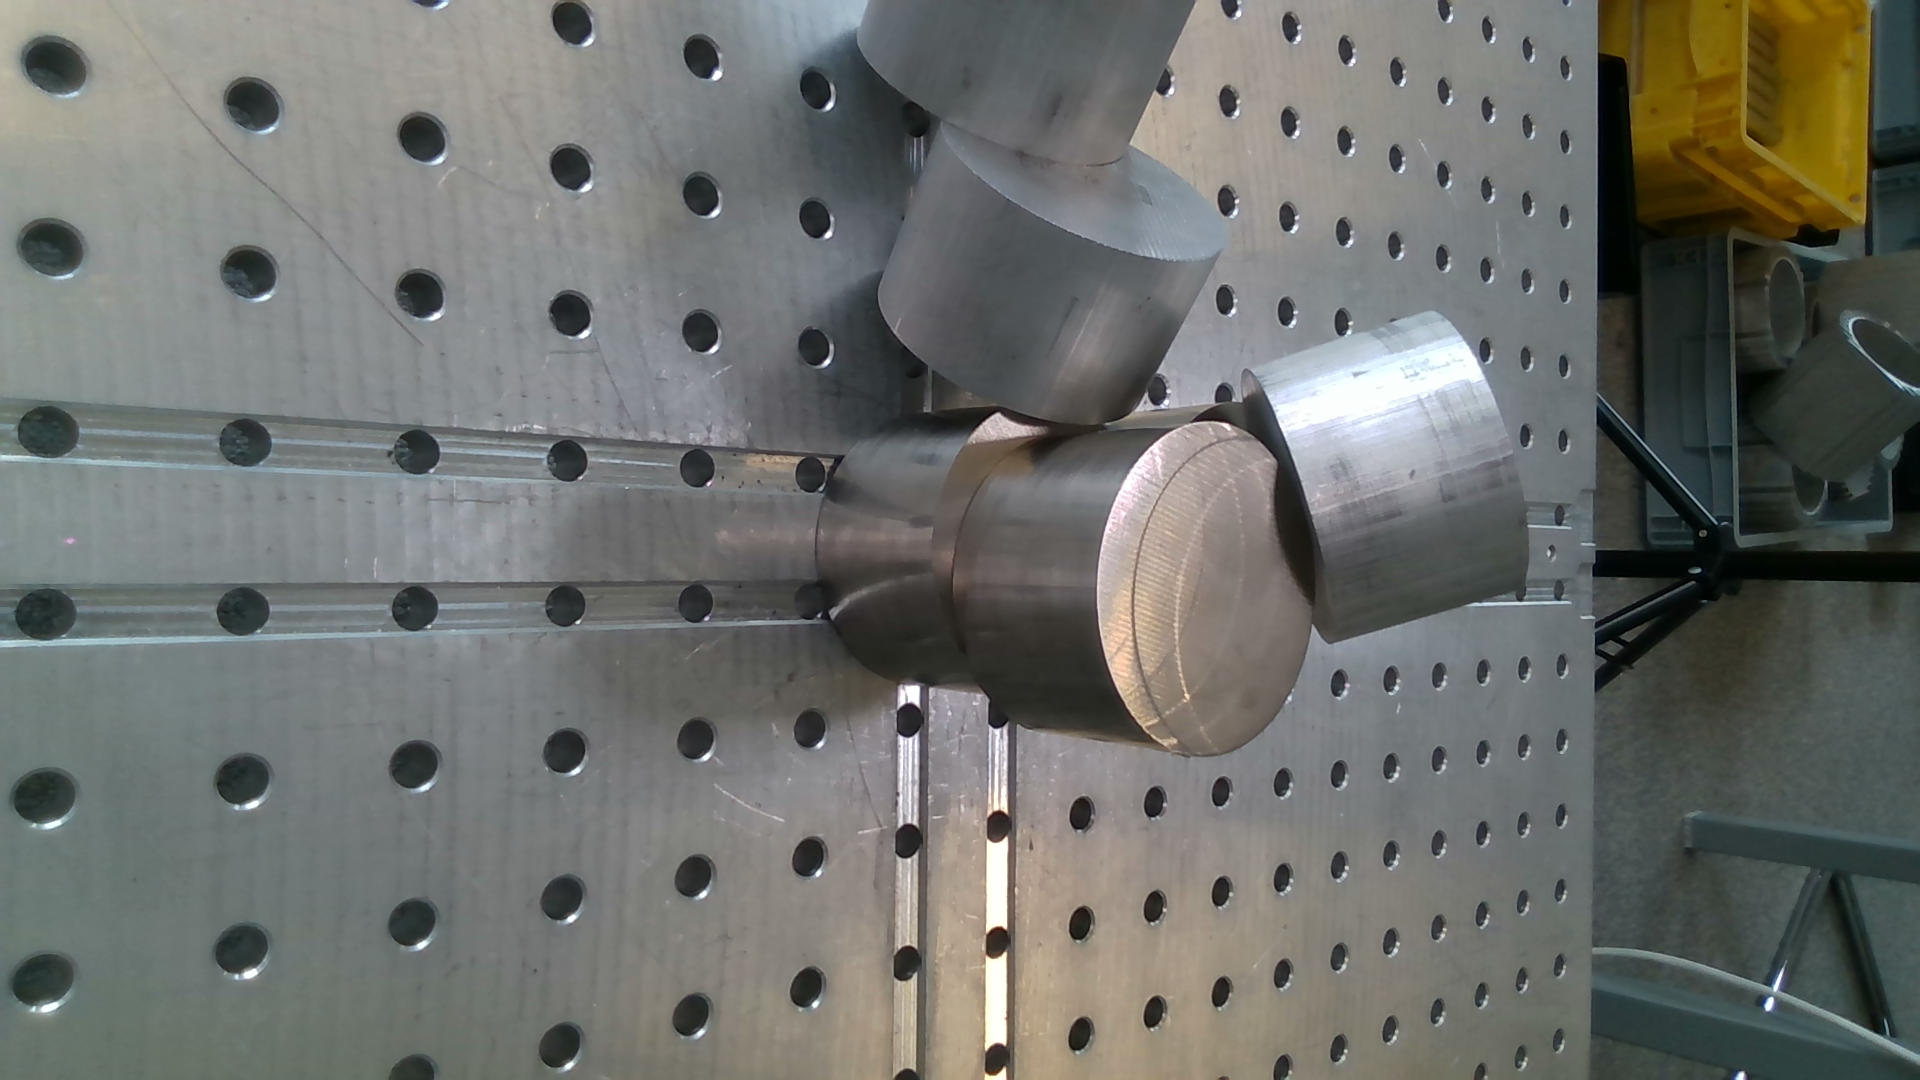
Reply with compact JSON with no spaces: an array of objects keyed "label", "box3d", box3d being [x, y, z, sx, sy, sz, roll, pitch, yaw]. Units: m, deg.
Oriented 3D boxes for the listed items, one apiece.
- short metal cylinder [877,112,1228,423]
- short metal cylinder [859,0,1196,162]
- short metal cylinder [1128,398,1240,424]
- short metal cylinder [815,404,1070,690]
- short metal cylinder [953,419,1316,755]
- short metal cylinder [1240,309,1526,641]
[{"label":"short metal cylinder","box3d":[0.024,-0.076,0.368,0.080,0.080,0.050,-9,137,-40]},{"label":"short metal cylinder","box3d":[0.019,-0.144,0.365,0.080,0.080,0.050,-10,138,-40]},{"label":"short metal cylinder","box3d":[0.069,-0.003,0.435,0.080,0.050,0.080,0,90,-40]},{"label":"short metal cylinder","box3d":[0.007,0.002,0.383,0.080,0.050,0.080,0,90,-40]},{"label":"short metal cylinder","box3d":[0.045,0.011,0.348,0.080,0.050,0.080,0,90,-40]},{"label":"short metal cylinder","box3d":[0.114,-0.018,0.380,0.050,0.080,0.080,-17,105,5]}]
